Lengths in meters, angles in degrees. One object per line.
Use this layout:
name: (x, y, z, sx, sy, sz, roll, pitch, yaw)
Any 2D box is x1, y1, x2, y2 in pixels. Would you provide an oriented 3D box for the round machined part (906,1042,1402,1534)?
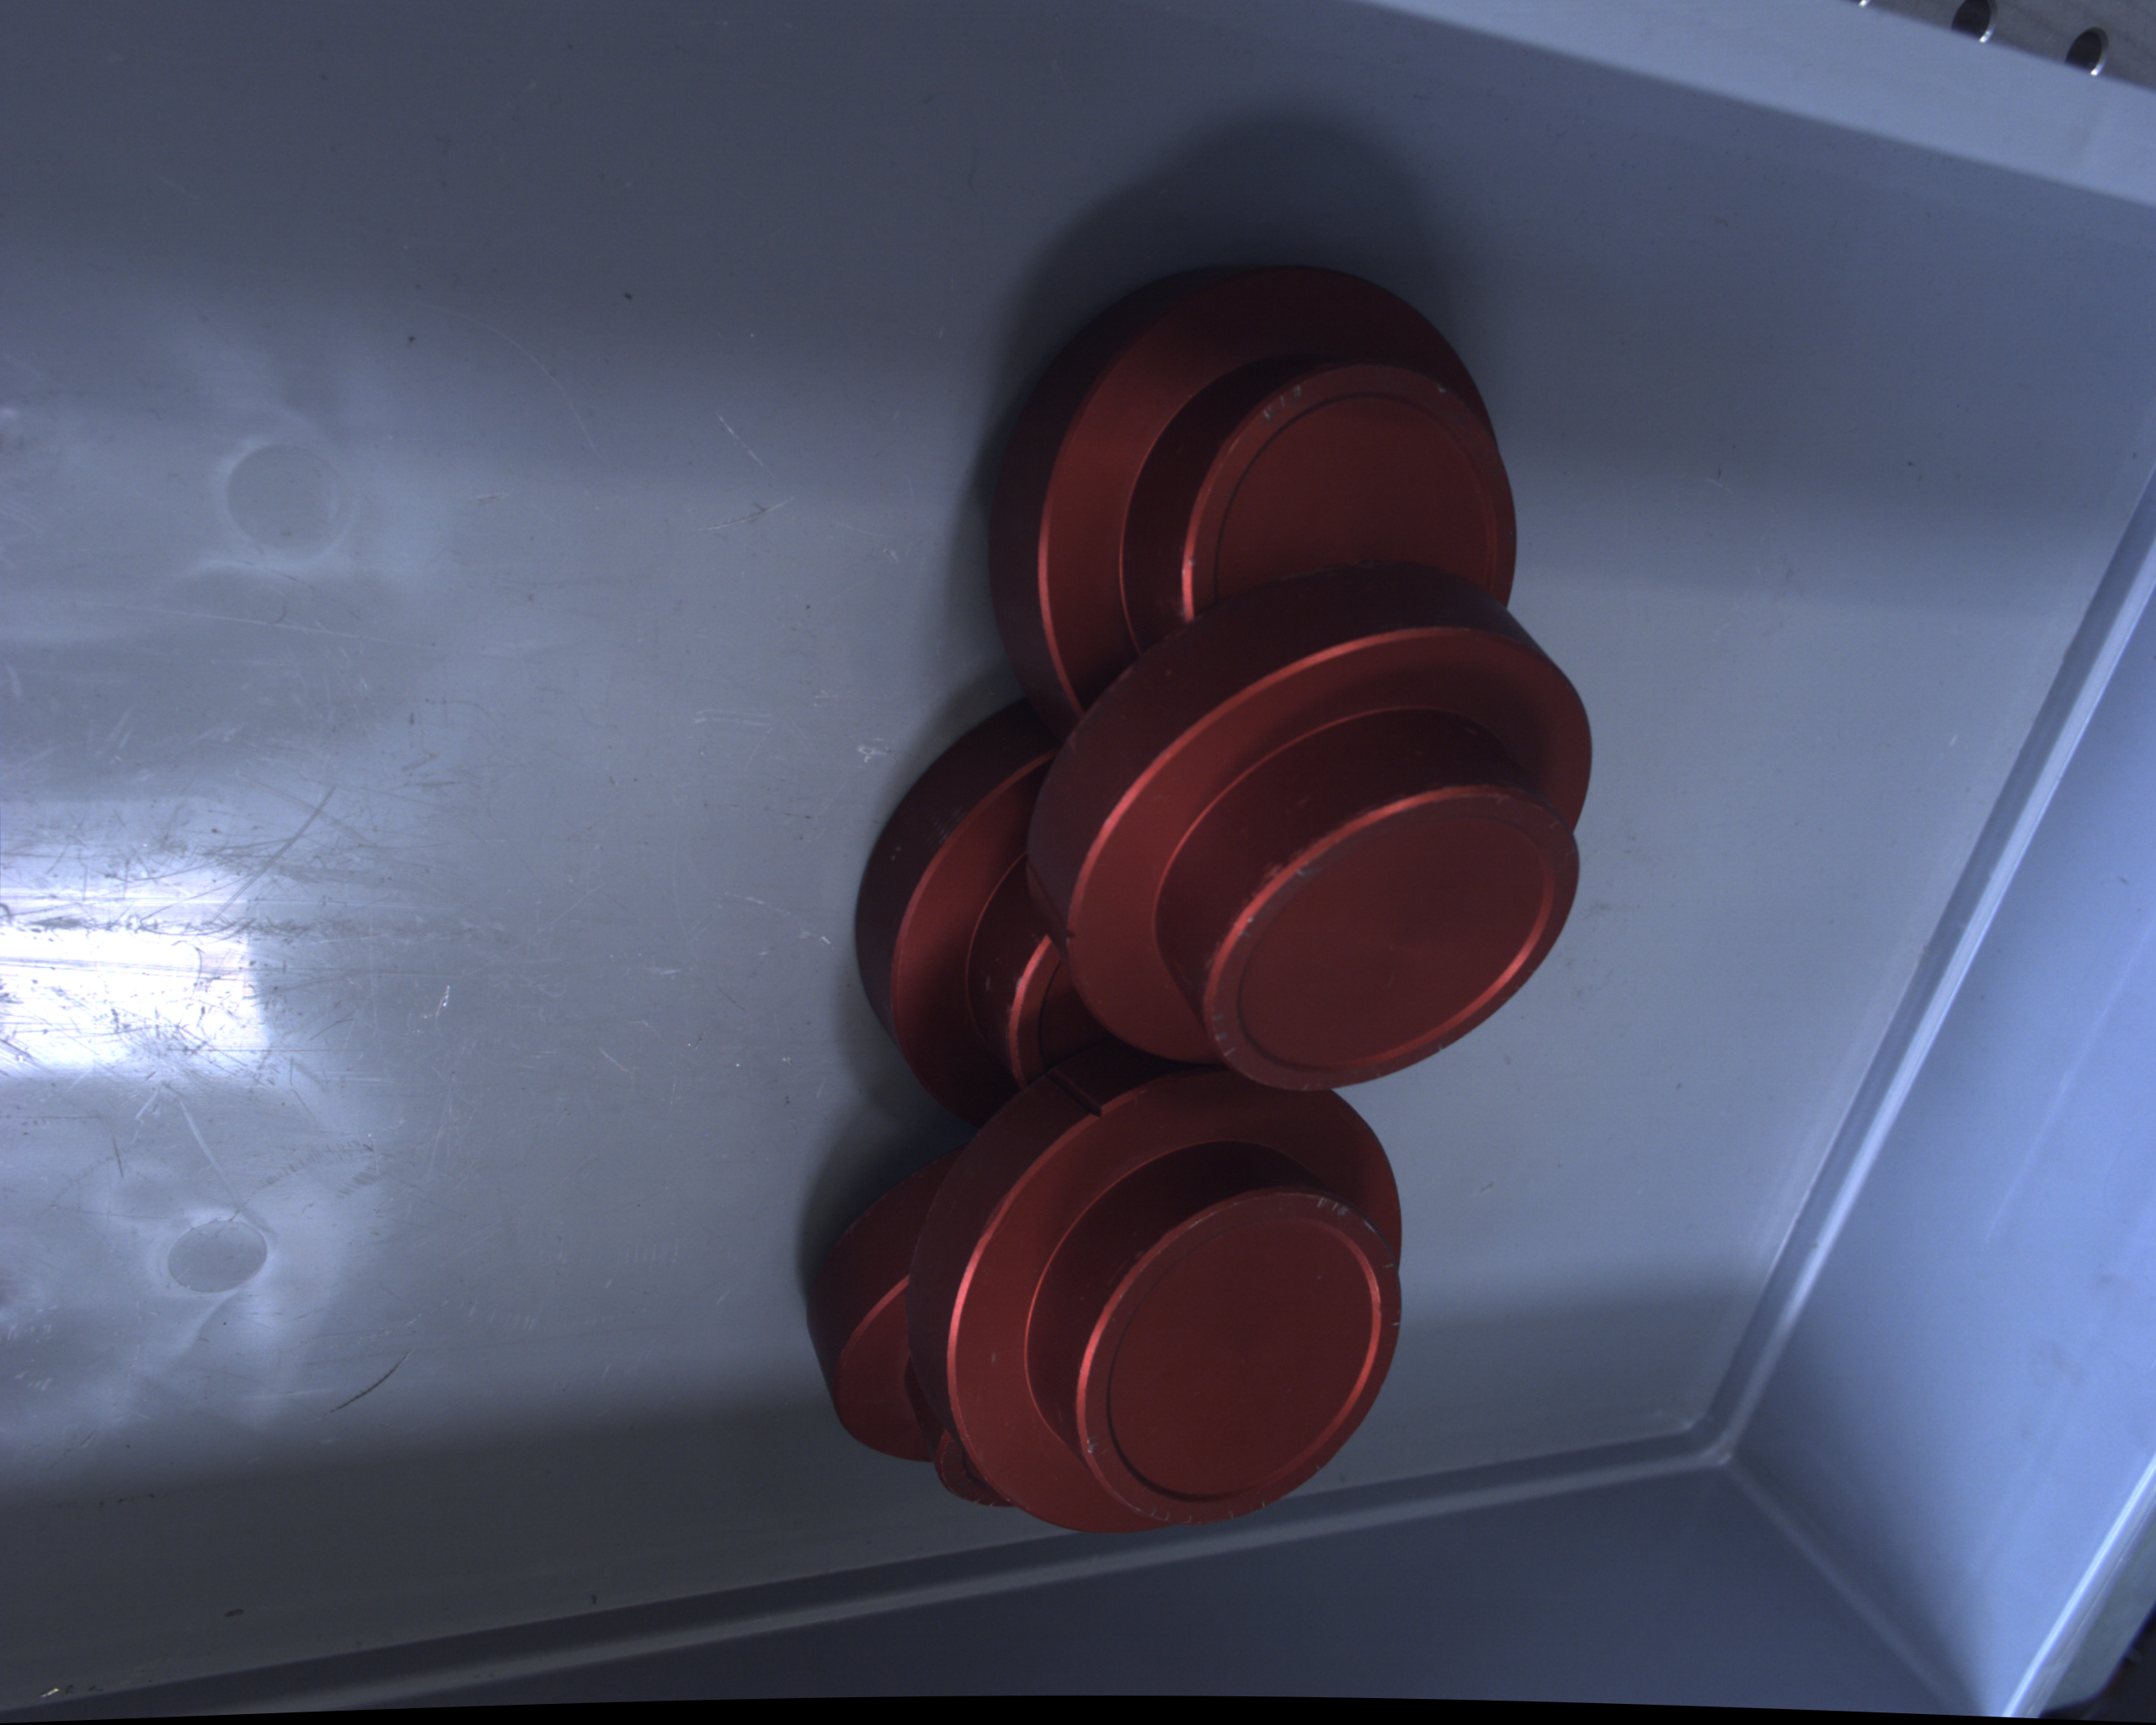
round machined part: (0.021, 0.084, 0.393, 0.099, 0.042, 0.097, -10, 112, -26)

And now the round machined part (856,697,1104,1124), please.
round machined part: (0.010, 0.015, 0.410, 0.099, 0.042, 0.097, -14, 123, -21)

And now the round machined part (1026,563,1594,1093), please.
round machined part: (0.044, 0.001, 0.354, 0.099, 0.042, 0.097, -15, 137, -15)

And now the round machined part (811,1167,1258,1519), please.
round machined part: (-0.003, 0.101, 0.439, 0.099, 0.042, 0.097, -15, 139, -13)

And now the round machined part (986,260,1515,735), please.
round machined part: (0.037, -0.056, 0.367, 0.099, 0.042, 0.097, -7, 106, -27)
